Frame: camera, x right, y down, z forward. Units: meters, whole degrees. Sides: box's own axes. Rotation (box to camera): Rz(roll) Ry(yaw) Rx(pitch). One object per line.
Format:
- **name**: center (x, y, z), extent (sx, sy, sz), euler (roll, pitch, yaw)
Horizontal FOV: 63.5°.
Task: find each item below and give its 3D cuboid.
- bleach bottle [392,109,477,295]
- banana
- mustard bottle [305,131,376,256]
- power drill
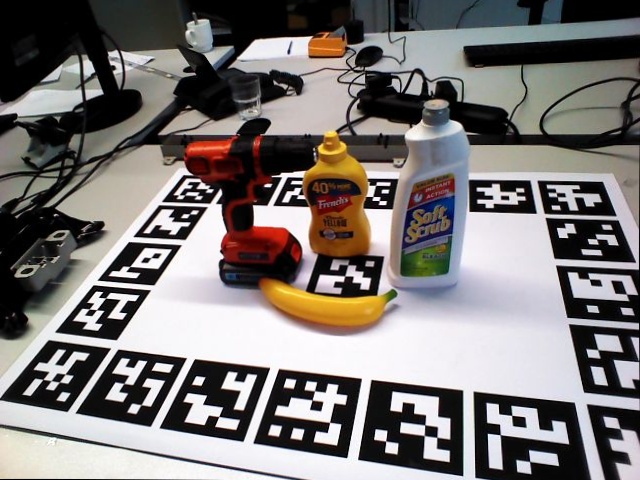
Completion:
- **bleach bottle**: center (0.140, -0.041, 0.652), extent (0.103, 0.251, 0.067), euler (-3, 39, 7)
- **banana**: center (0.011, 0.080, 0.677), extent (0.198, 0.039, 0.073), euler (3, 43, 18)
- **mustard bottle**: center (0.029, -0.066, 0.741), extent (0.096, 0.192, 0.058), euler (4, 38, 14)
- **power drill**: center (-0.086, -0.048, 0.709), extent (0.185, 0.187, 0.057), euler (3, 32, 10)
